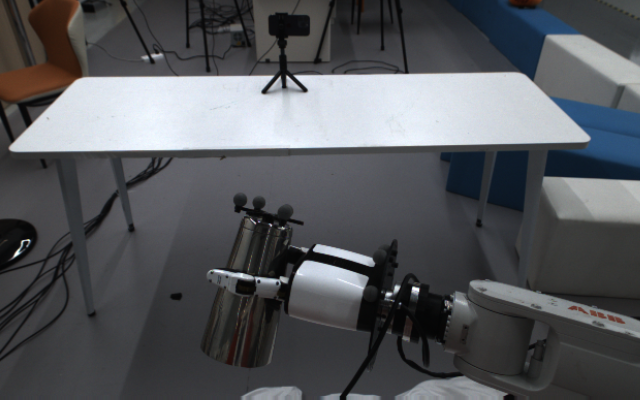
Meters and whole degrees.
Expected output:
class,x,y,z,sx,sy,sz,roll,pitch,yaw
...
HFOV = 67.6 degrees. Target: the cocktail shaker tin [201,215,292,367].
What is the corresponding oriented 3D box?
class,x,y,z,sx,sy,sz,roll,pitch,yaw
cocktail shaker tin,-0.085,0.110,0.609,0.093,0.170,0.093,13,2,0
